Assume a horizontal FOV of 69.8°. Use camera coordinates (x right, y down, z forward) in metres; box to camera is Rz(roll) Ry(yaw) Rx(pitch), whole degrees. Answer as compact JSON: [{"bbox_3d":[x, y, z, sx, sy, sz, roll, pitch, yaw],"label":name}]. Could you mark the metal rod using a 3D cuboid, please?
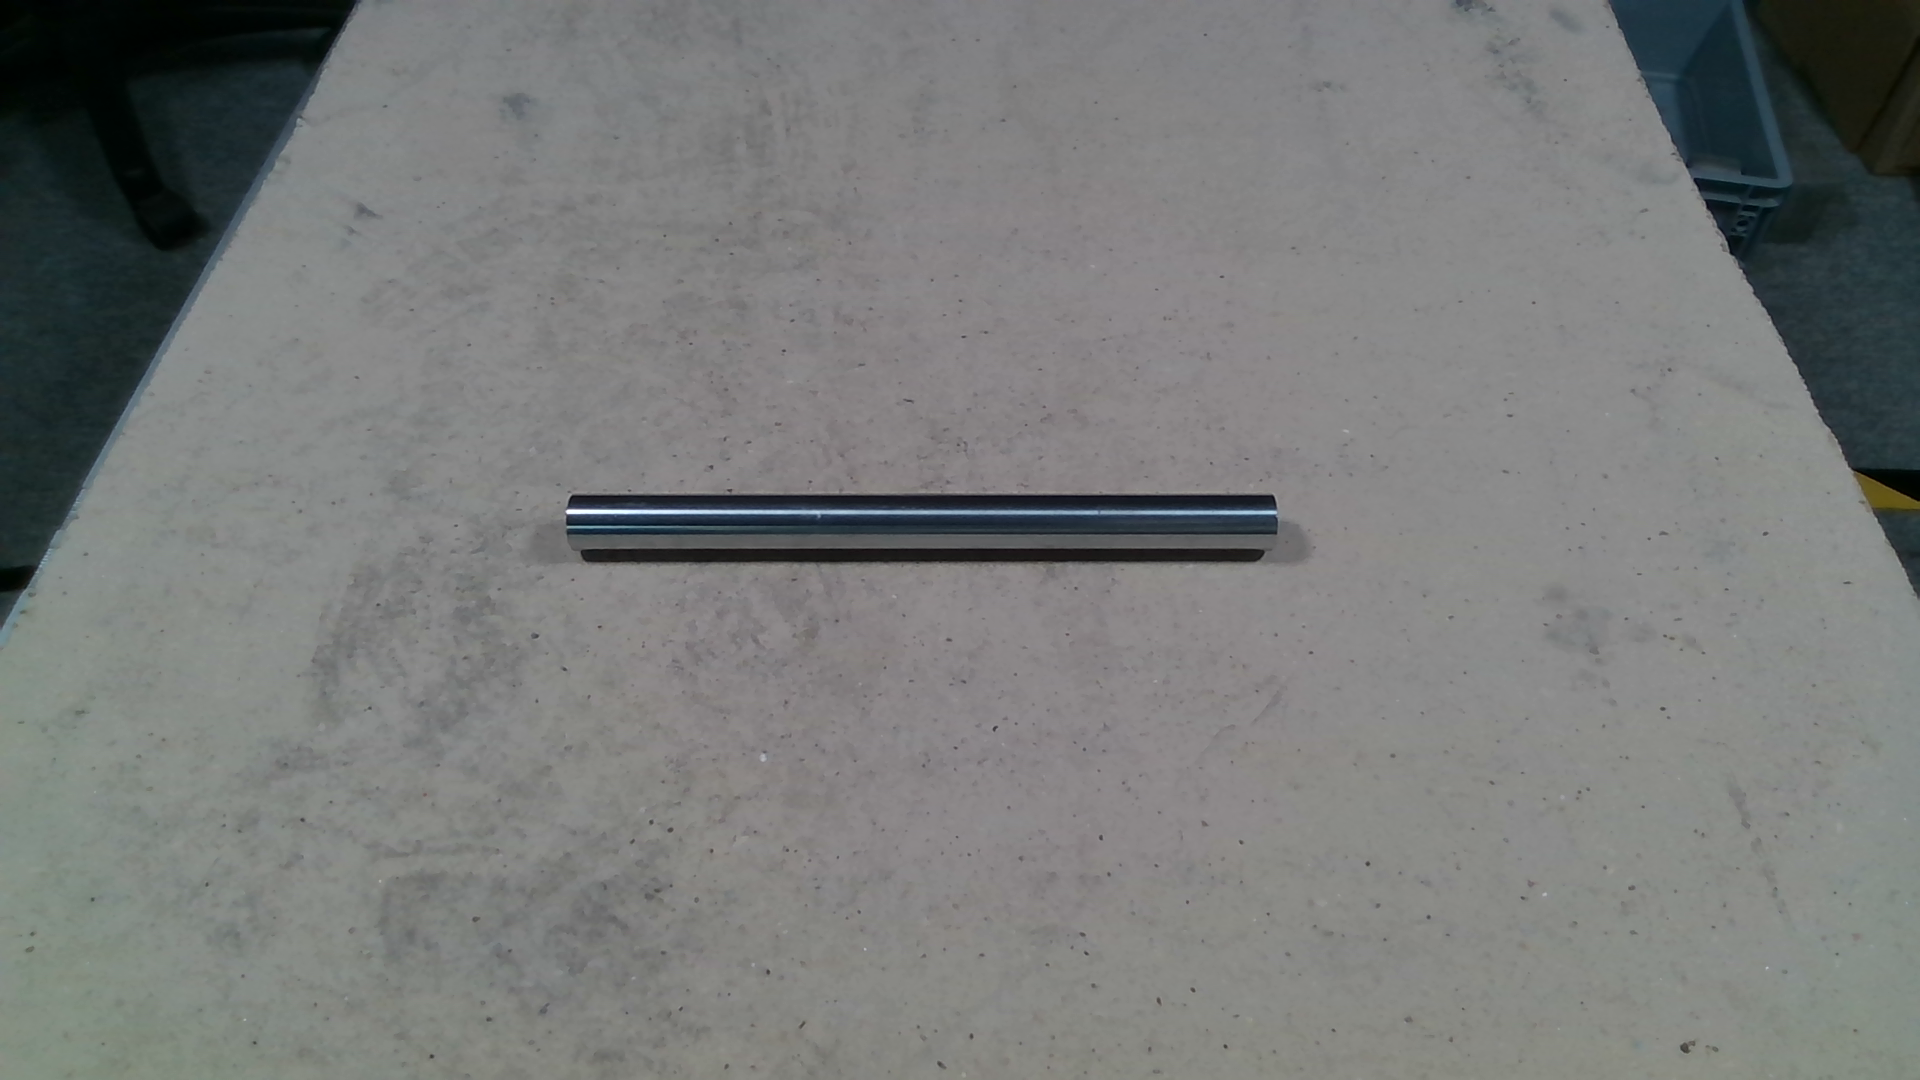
[{"bbox_3d":[-0.016,-0.009,0.594,0.300,0.025,0.025,0,50,0],"label":"metal rod"}]
